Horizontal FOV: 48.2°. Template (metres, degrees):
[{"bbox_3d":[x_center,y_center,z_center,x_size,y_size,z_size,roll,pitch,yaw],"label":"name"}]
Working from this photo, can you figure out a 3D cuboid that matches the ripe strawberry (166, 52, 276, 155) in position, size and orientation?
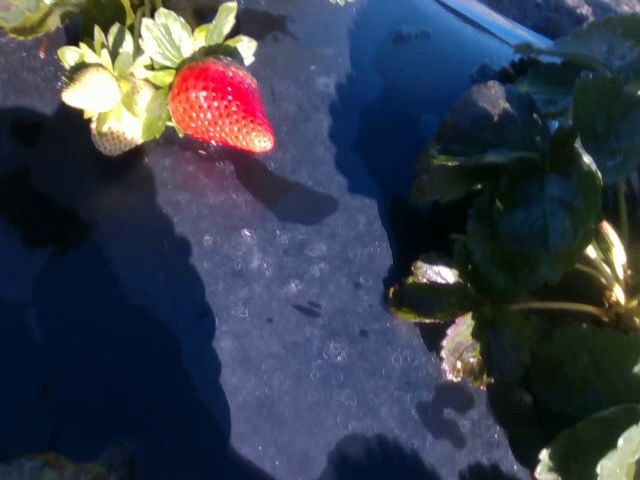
[{"bbox_3d":[-0.041,-0.058,0.327,0.064,0.049,0.052,40,5,22],"label":"ripe strawberry"}]
